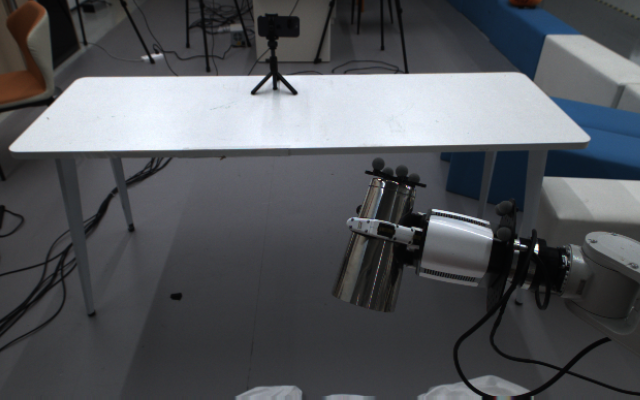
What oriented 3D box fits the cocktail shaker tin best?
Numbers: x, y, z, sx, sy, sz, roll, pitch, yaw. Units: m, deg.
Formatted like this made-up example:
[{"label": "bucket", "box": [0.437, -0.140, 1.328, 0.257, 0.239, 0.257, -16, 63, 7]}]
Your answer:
[{"label": "cocktail shaker tin", "box": [0.083, 0.060, 0.677, 0.093, 0.170, 0.093, 15, -2, 0]}]
